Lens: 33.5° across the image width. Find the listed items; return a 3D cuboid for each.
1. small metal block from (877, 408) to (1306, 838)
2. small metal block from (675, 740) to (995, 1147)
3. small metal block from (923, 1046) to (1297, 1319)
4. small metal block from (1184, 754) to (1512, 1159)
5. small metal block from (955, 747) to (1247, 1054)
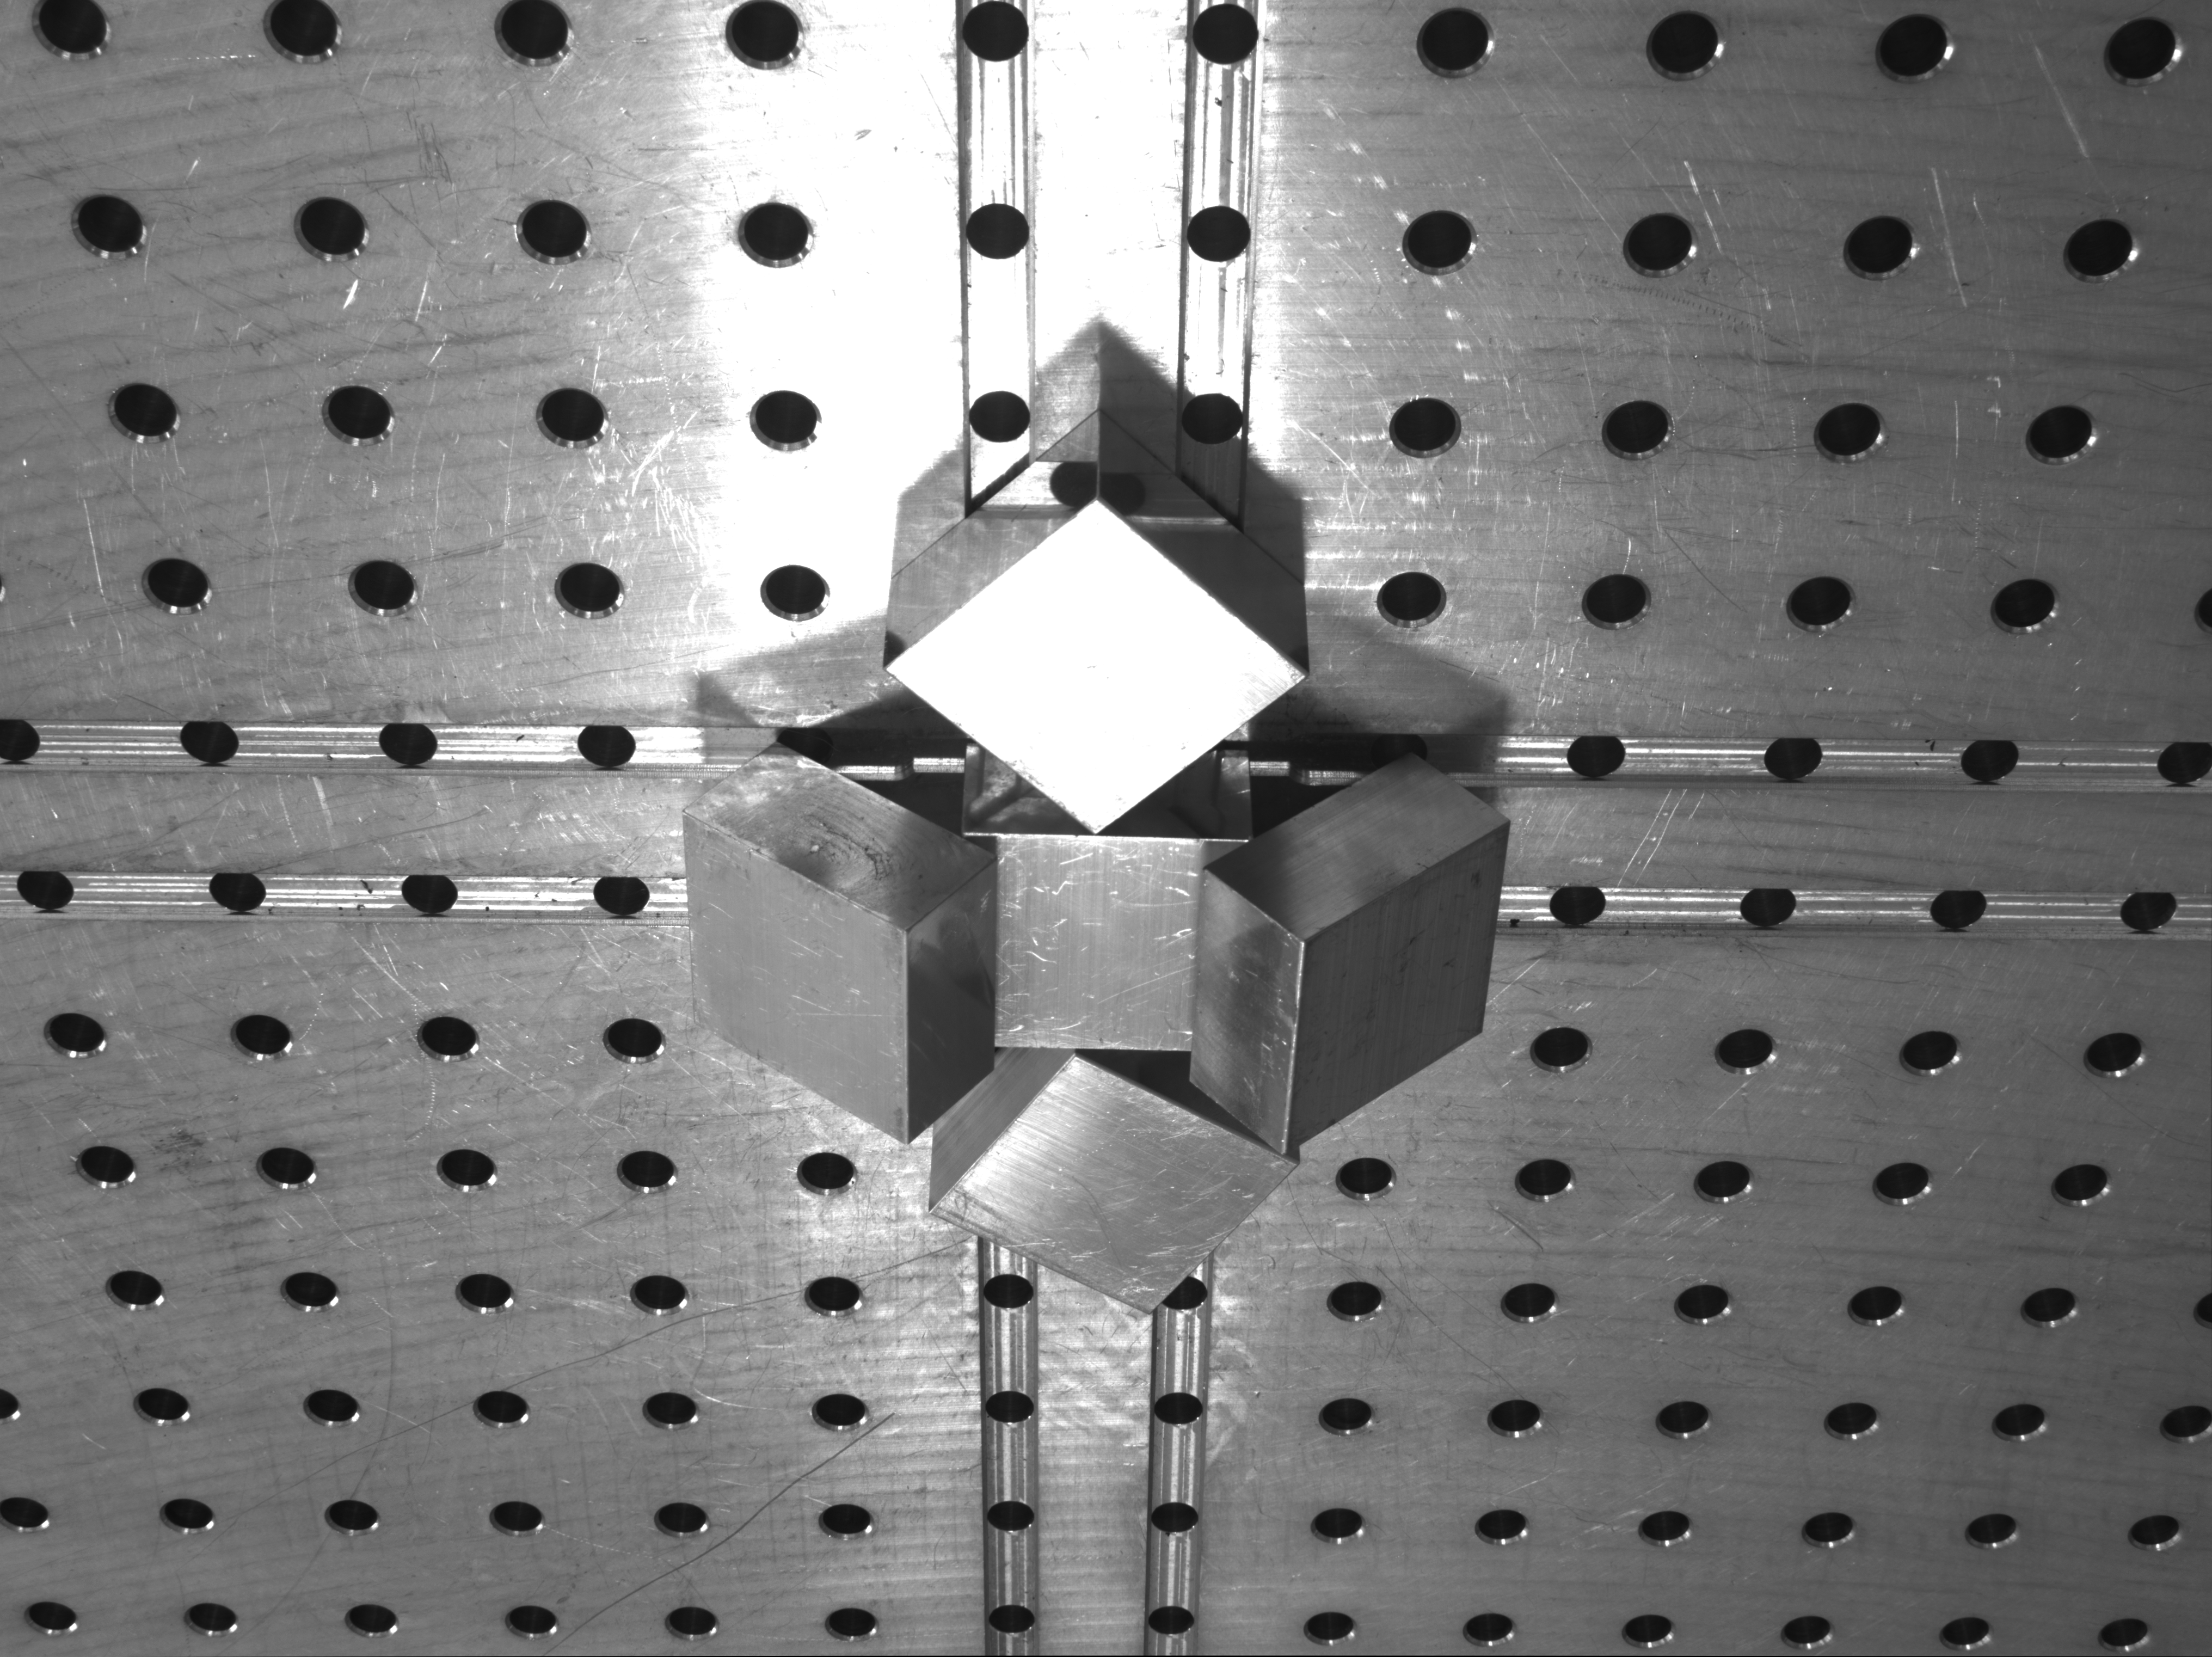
[{"bbox_3d":[-0.002,-0.034,0.615,0.050,0.025,0.050,-37,120,26],"label":"small metal block"},{"bbox_3d":[-0.047,0.020,0.643,0.050,0.025,0.050,27,137,26],"label":"small metal block"},{"bbox_3d":[0.001,0.059,0.692,0.050,0.025,0.050,28,125,-20],"label":"small metal block"},{"bbox_3d":[0.042,0.022,0.644,0.050,0.025,0.050,-27,138,-31],"label":"small metal block"},{"bbox_3d":[-0.001,0.013,0.653,0.050,0.025,0.050,1,129,-1],"label":"small metal block"}]
